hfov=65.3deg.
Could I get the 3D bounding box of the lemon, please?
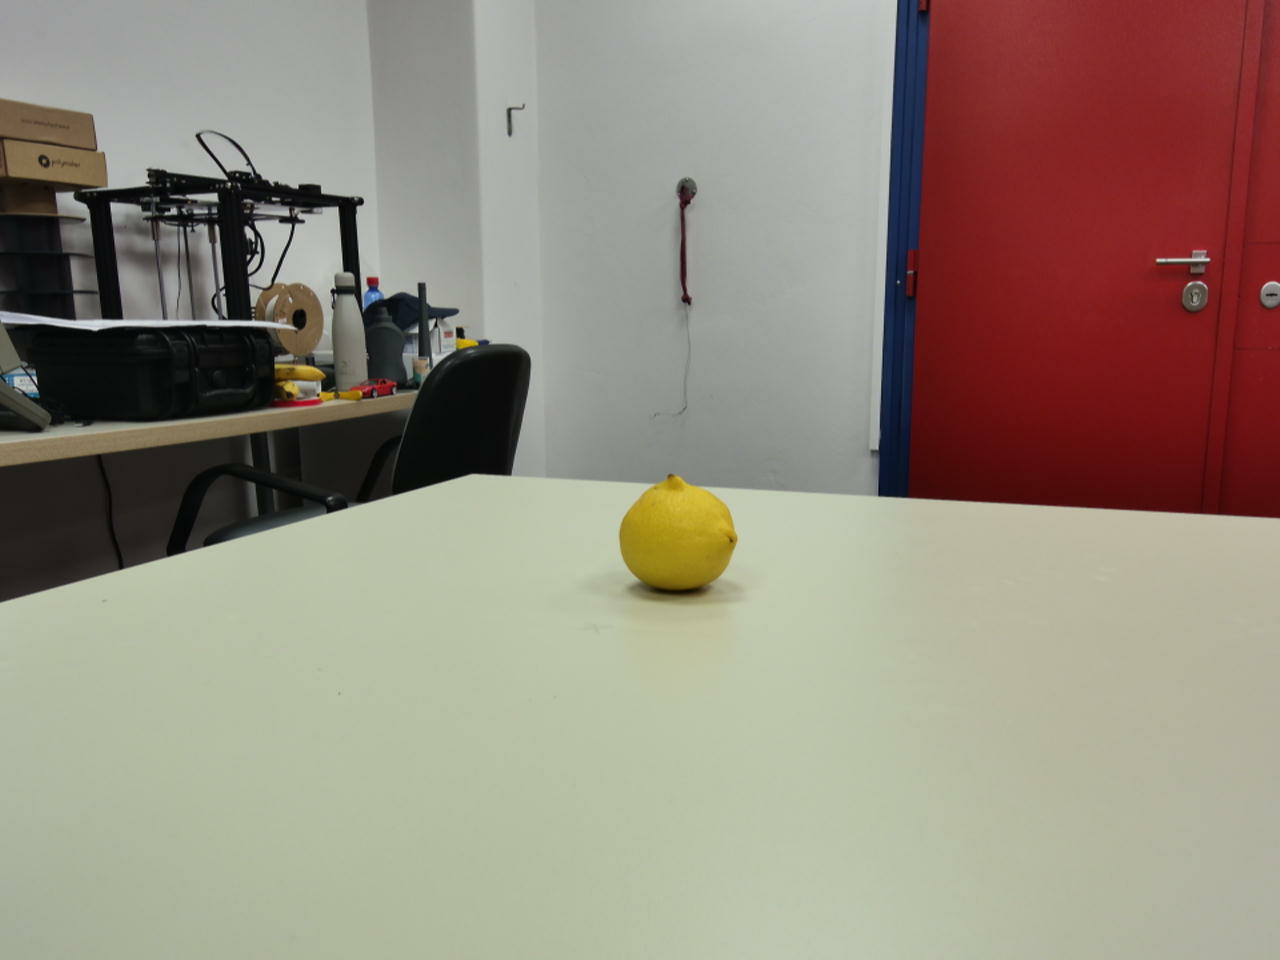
[{"bbox_3d":[0.023,0.032,0.618,0.070,0.071,0.071,-2,7,-11],"label":"lemon"}]
